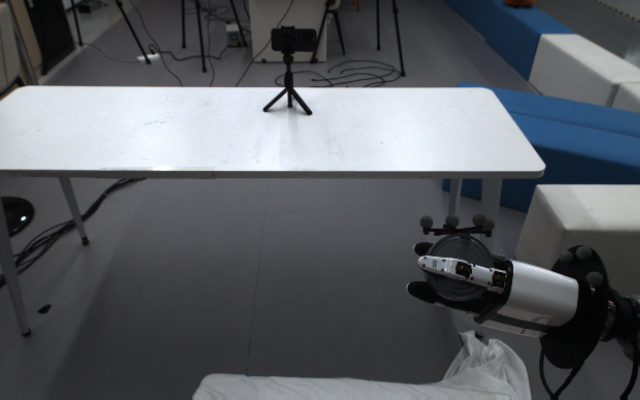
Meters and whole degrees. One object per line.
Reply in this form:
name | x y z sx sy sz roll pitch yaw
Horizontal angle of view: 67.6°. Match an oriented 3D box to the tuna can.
tuna can | 0.179 0.086 0.627 0.085 0.034 0.085 -1 75 4
